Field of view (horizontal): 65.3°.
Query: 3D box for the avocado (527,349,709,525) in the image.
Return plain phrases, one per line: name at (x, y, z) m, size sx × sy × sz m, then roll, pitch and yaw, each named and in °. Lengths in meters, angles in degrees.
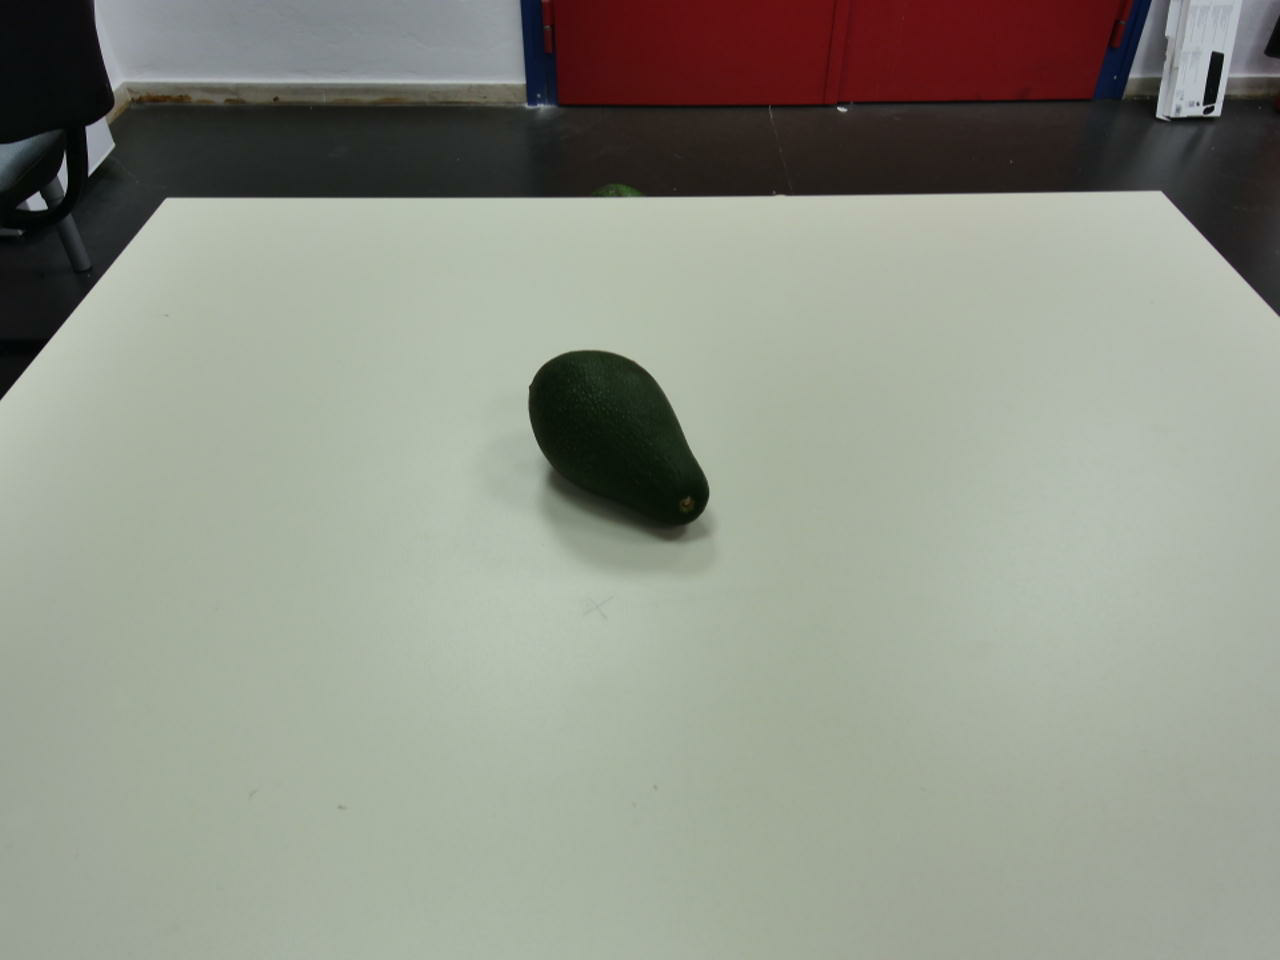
avocado at (-0.014, -0.023, 0.516) m, size 0.072 × 0.071 × 0.109 m, roll -16°, pitch 41°, yaw -18°
